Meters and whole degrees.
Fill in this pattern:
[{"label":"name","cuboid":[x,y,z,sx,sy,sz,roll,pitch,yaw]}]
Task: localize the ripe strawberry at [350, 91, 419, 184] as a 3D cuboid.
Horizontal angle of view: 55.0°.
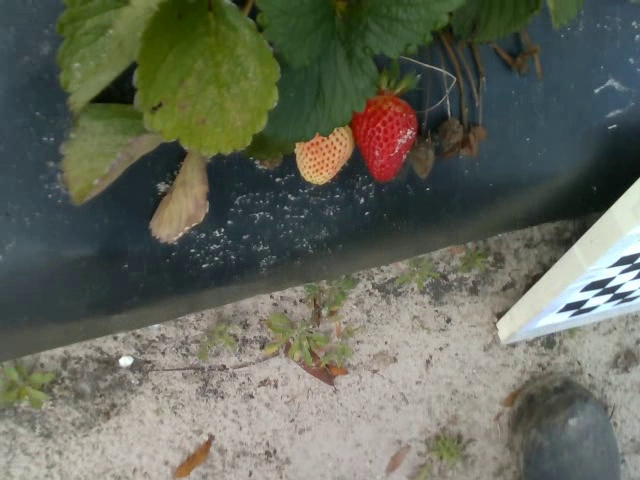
[{"label":"ripe strawberry","cuboid":[0.029,-0.045,0.271,0.034,0.042,0.033,7,-5,-37]}]
